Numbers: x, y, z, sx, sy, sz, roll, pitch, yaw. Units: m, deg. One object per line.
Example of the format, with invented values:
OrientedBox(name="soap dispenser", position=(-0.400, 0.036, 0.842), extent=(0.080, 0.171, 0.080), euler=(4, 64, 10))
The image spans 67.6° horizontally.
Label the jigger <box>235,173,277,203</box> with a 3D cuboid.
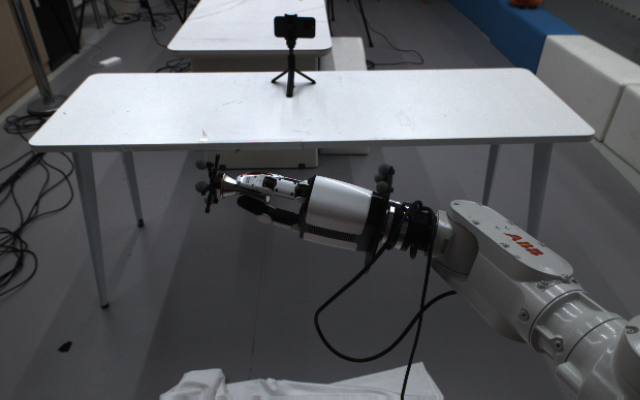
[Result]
OrientedBox(name="jigger", position=(-0.101, -0.021, 0.715), extent=(0.071, 0.043, 0.043), euler=(7, 35, 2))
